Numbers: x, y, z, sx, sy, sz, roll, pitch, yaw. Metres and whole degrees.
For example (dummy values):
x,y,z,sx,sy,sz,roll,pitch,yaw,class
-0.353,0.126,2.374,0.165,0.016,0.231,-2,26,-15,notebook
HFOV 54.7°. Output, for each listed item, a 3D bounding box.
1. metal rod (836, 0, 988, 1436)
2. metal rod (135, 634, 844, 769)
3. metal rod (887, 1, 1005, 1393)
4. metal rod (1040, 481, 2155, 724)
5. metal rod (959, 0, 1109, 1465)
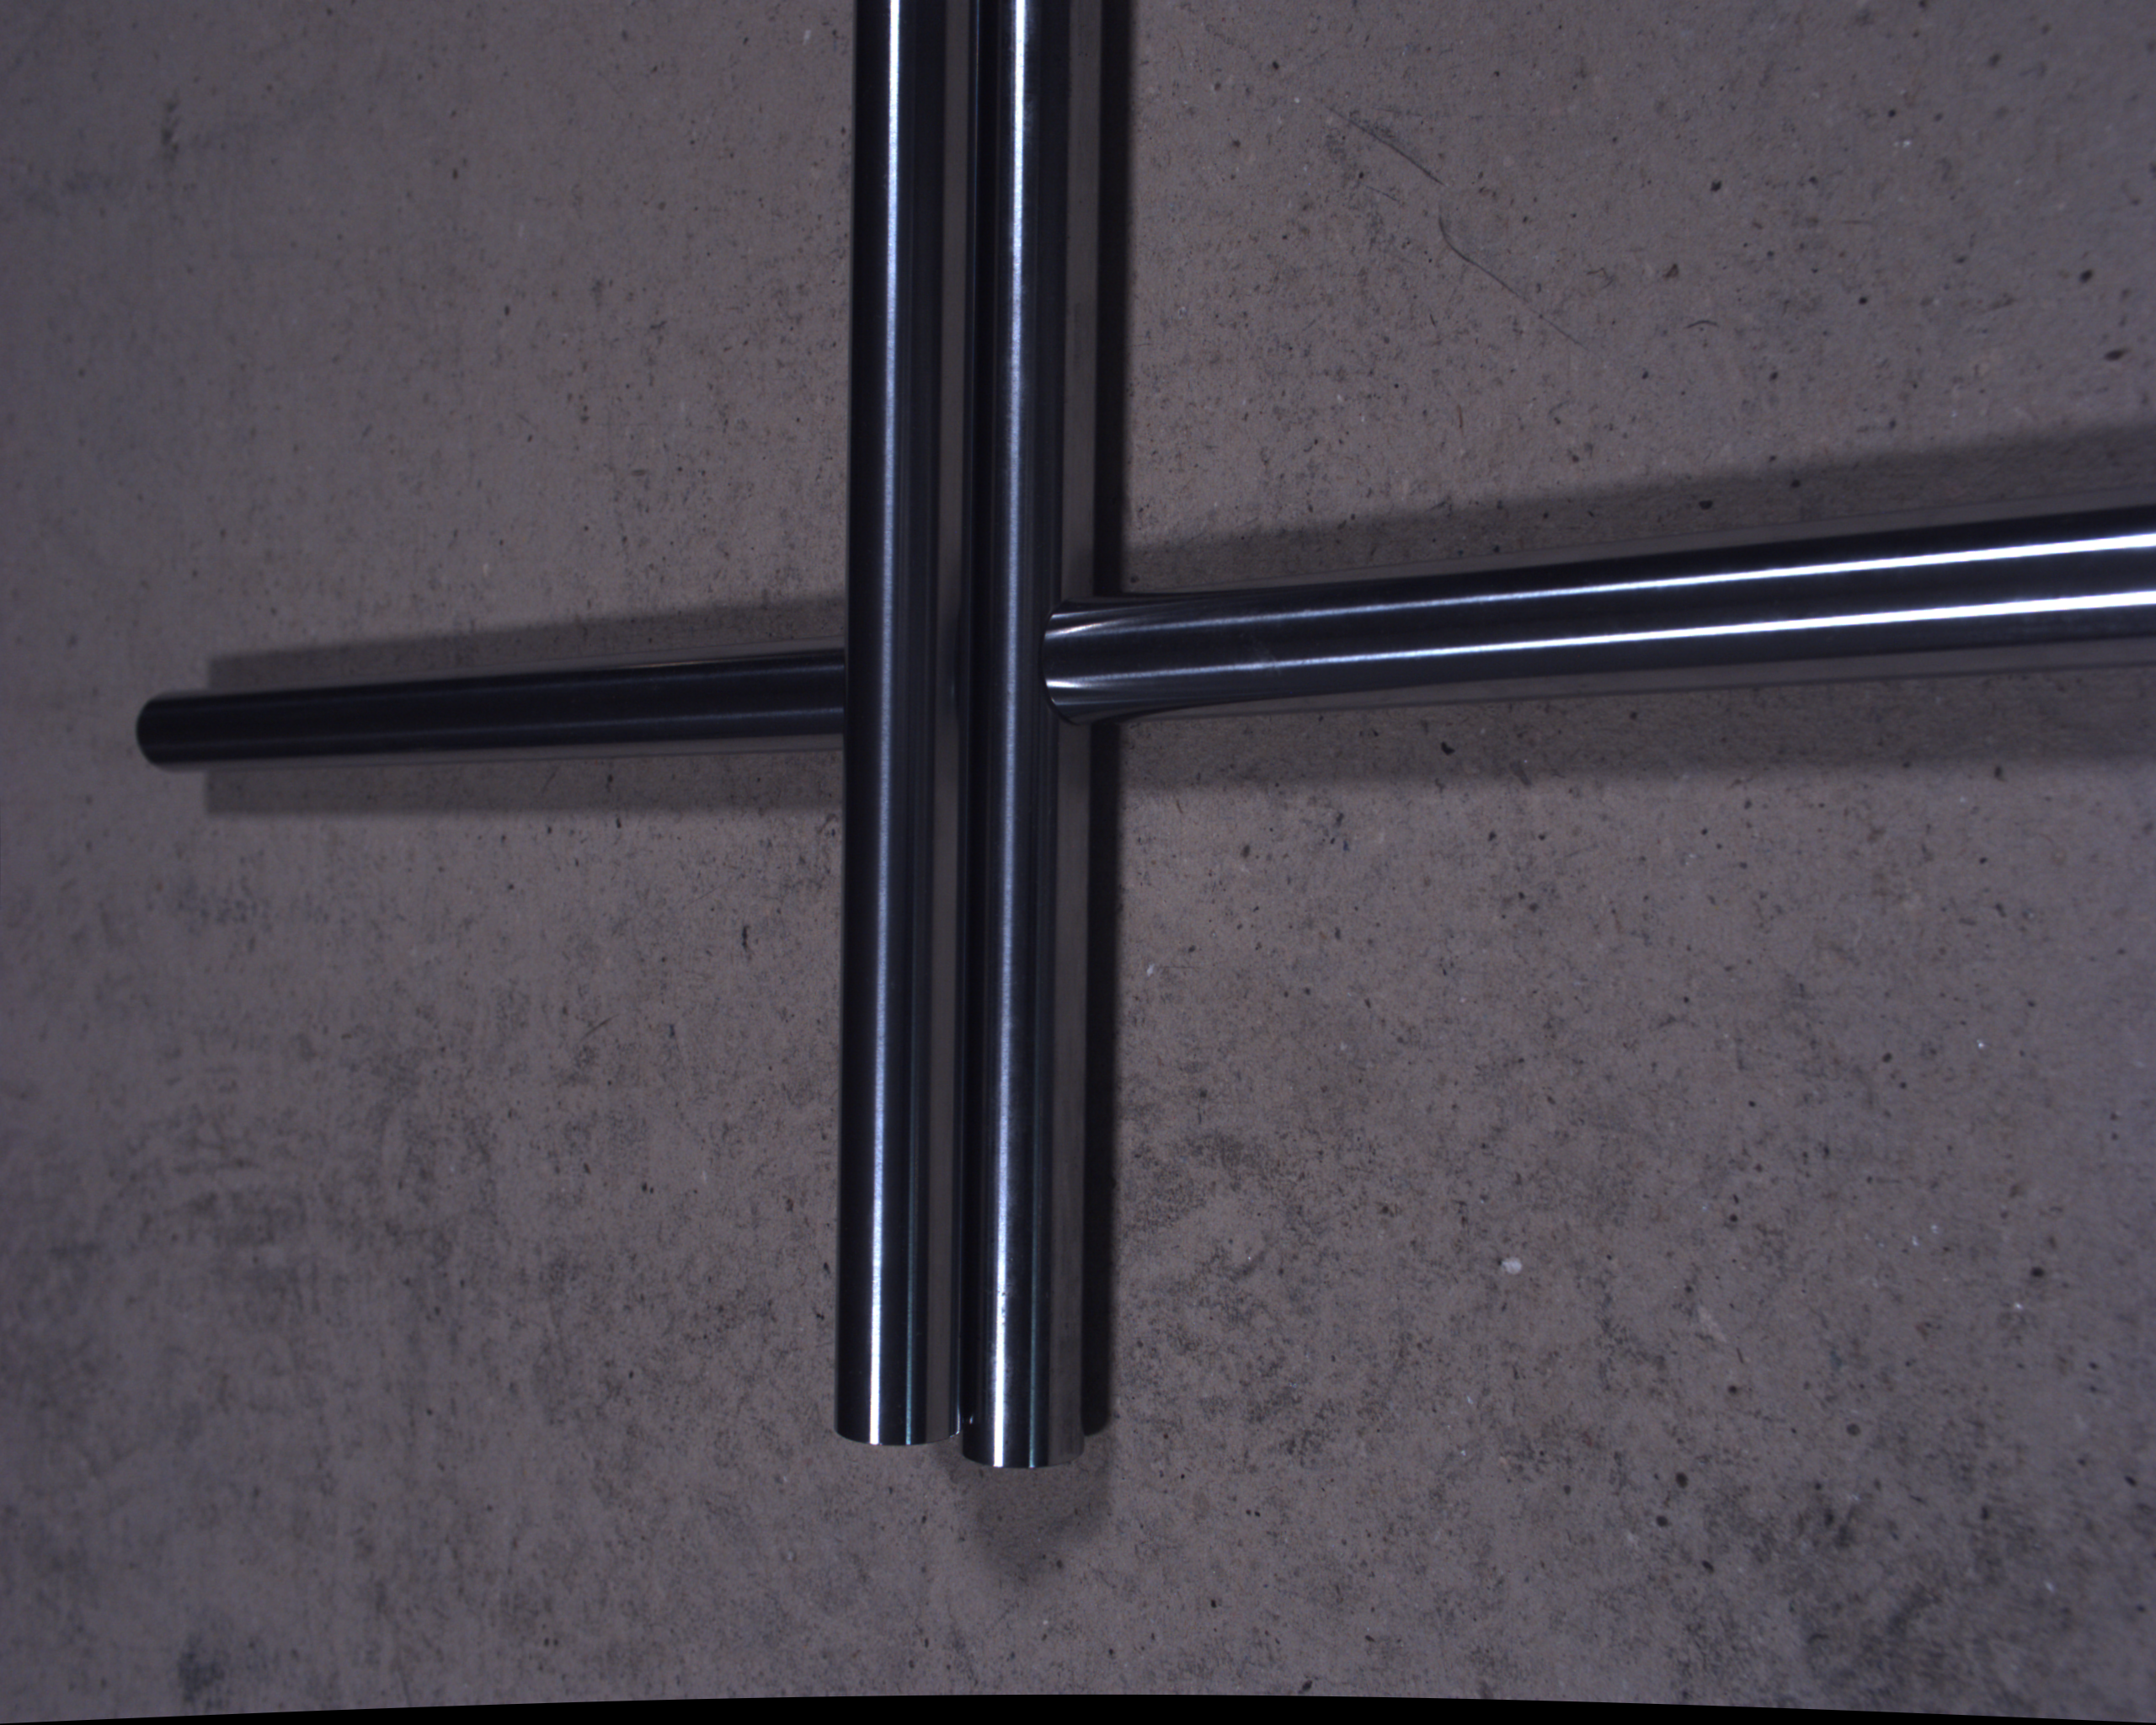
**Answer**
x,y,z,sx,sy,sz,roll,pitch,yaw,class
-0.032,-0.041,0.405,0.025,0.025,0.298,2,91,39,metal rod
-0.154,-0.038,0.530,0.300,0.025,0.025,1,91,39,metal rod
-0.028,-0.039,0.428,0.025,0.025,0.298,2,91,39,metal rod
0.117,-0.040,0.309,0.300,0.025,0.025,0,90,39,metal rod
-0.009,-0.033,0.413,0.025,0.025,0.298,2,91,39,metal rod
